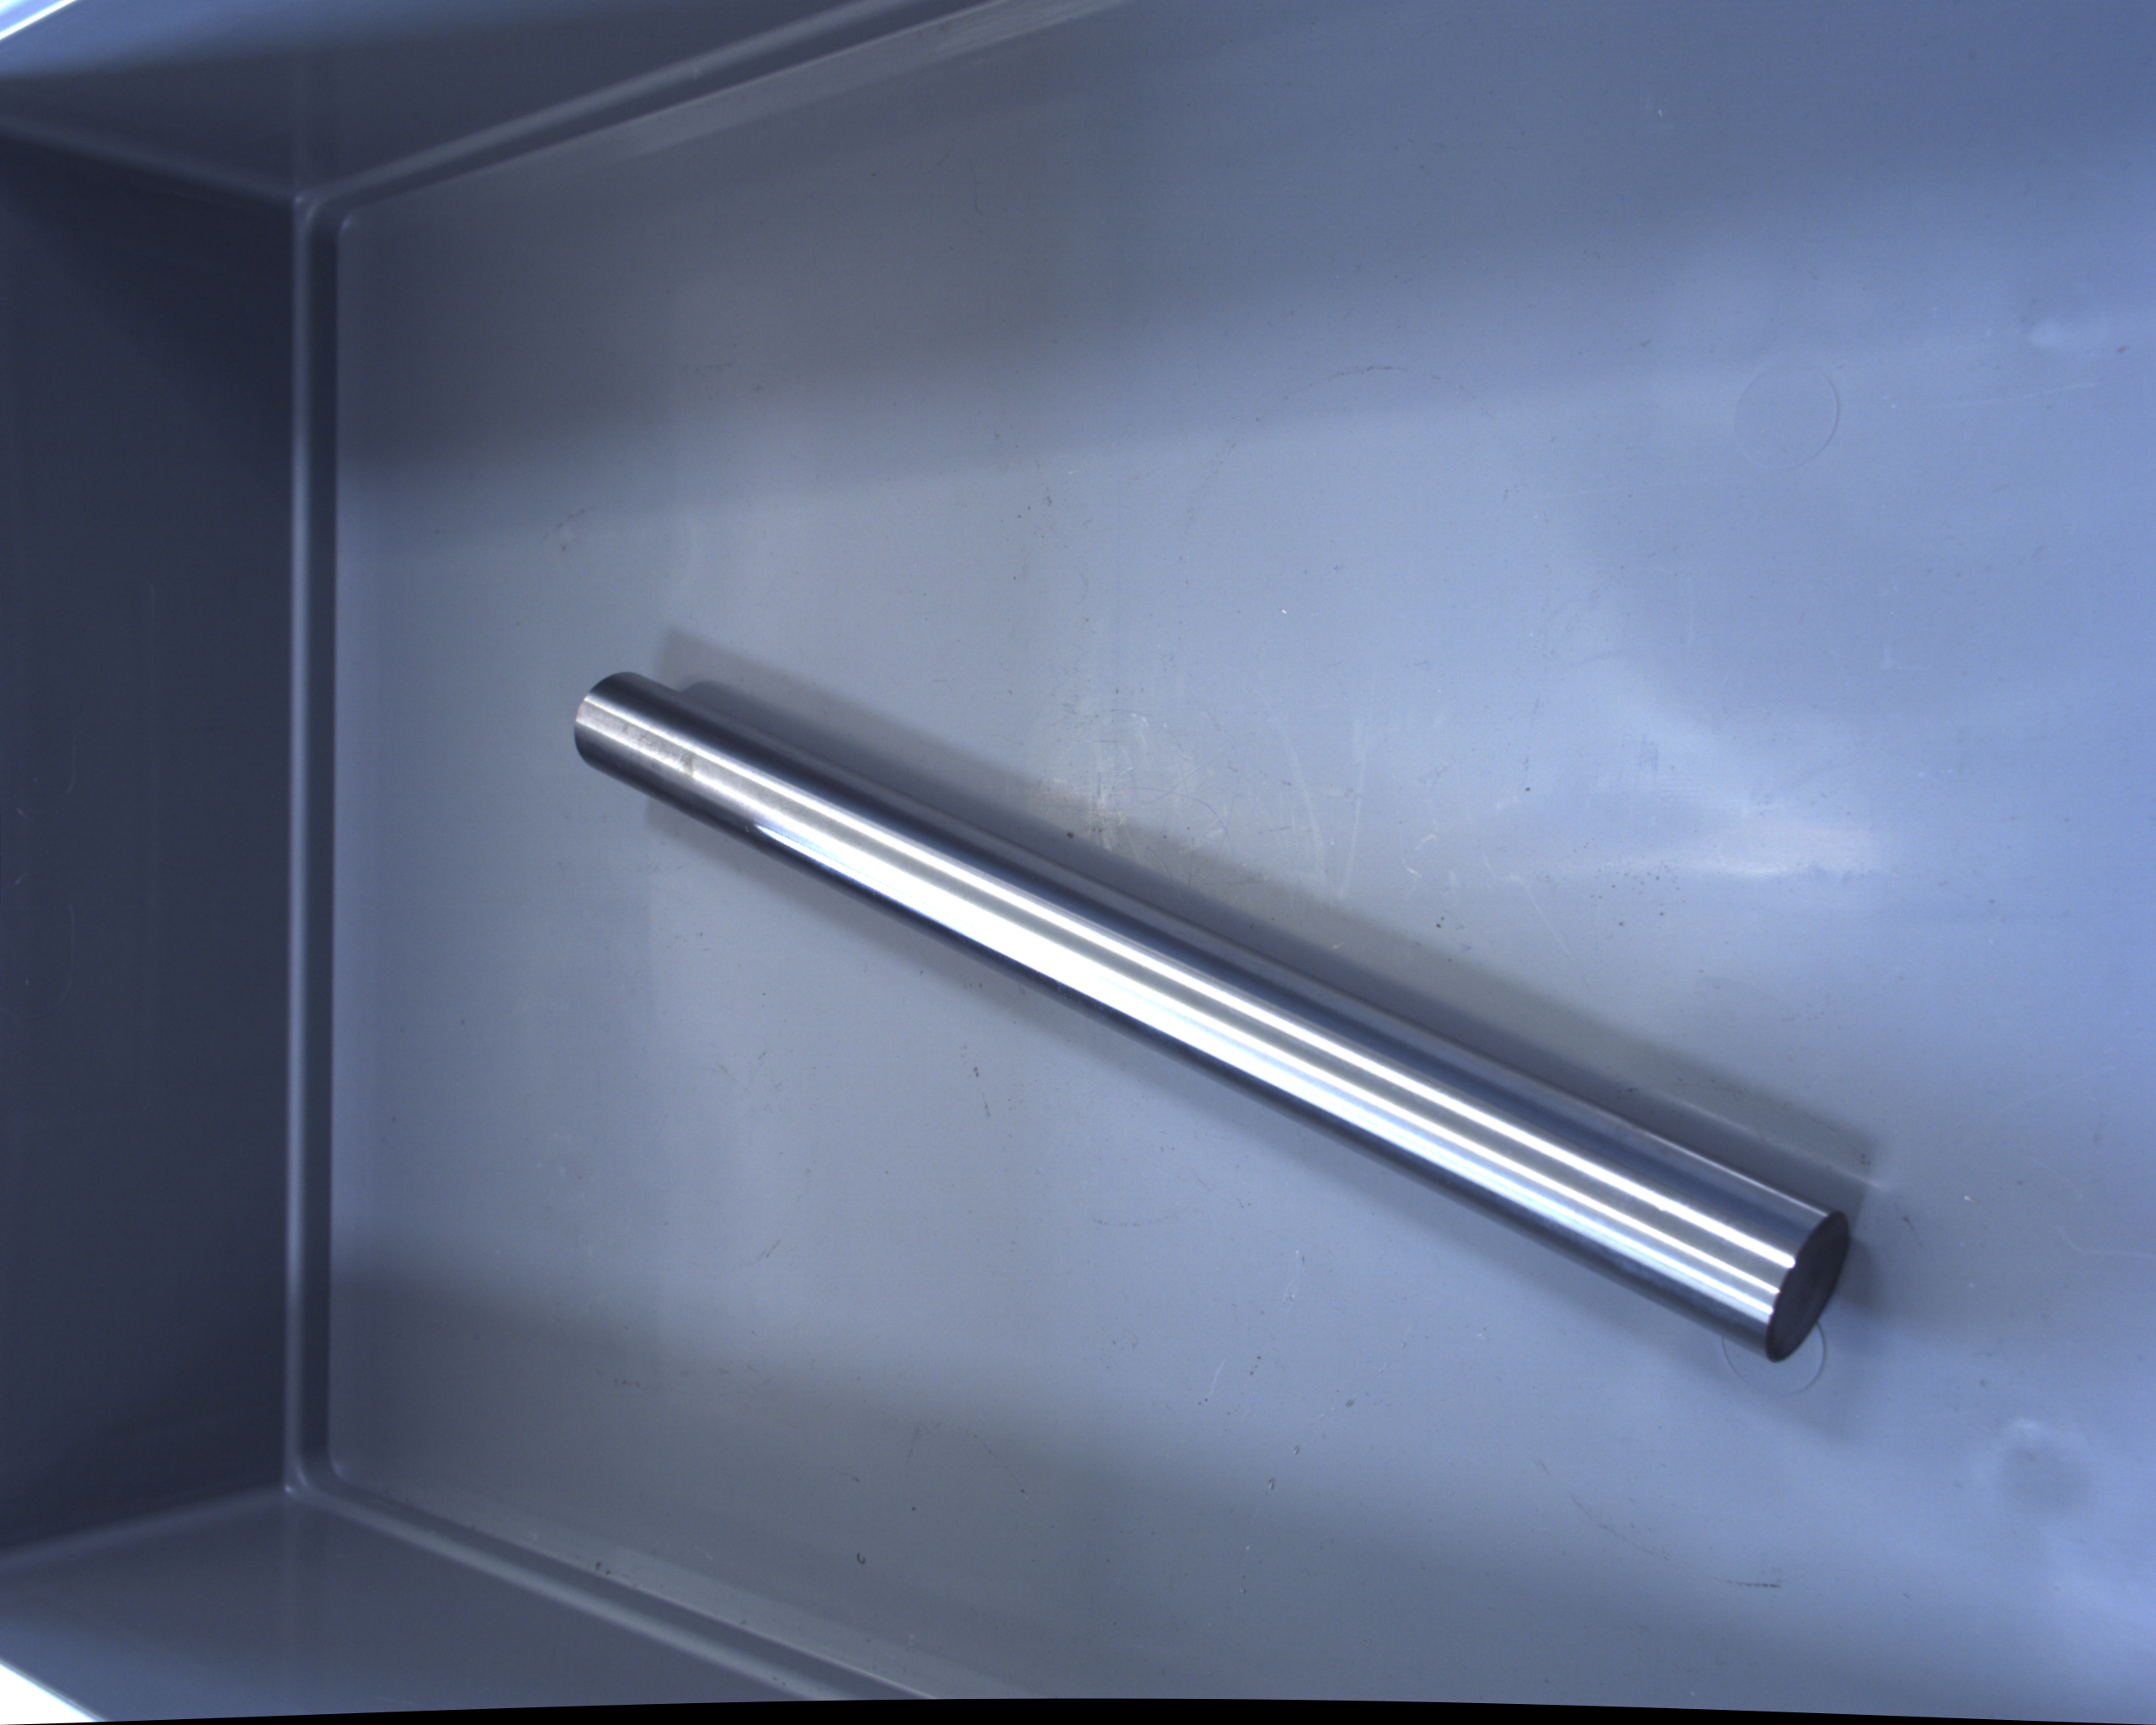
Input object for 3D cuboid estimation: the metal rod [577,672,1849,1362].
[{"bbox_3d":[0.001,0.015,0.405,0.300,0.025,0.025,24,105,37],"label":"metal rod"}]
